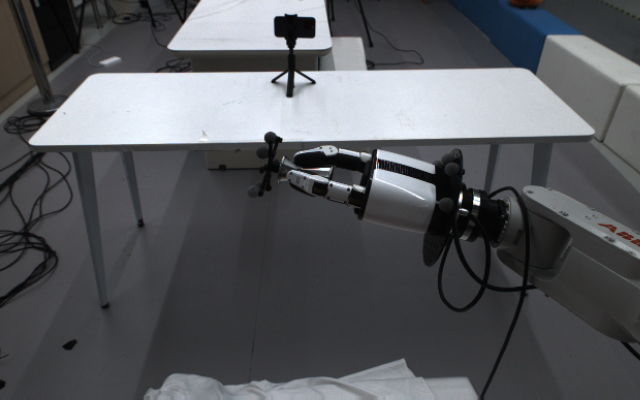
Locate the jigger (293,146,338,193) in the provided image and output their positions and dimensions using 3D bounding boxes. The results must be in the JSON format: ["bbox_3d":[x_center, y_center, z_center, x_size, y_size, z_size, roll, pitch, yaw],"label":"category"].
[{"bbox_3d":[-0.013,-0.036,0.650,0.071,0.043,0.043,14,36,4],"label":"jigger"}]
